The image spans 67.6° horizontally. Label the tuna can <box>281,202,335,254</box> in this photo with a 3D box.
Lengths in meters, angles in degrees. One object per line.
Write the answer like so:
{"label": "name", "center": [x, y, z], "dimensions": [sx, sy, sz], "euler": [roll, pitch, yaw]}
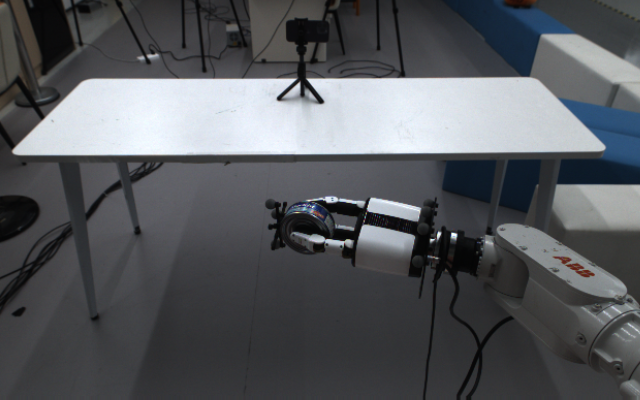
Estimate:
{"label": "tuna can", "center": [-0.019, 0.044, 0.780], "dimensions": [0.085, 0.085, 0.034], "euler": [9, 33, 10]}
